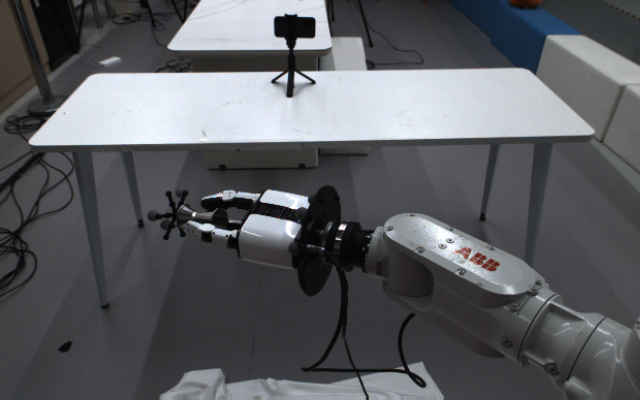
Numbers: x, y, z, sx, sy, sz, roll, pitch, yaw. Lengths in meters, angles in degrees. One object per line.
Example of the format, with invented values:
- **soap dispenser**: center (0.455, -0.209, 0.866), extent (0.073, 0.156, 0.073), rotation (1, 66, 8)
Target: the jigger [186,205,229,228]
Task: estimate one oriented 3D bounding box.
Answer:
- **jigger**: center (-0.178, 0.024, 0.762), extent (0.071, 0.043, 0.043), rotation (6, 34, 23)
